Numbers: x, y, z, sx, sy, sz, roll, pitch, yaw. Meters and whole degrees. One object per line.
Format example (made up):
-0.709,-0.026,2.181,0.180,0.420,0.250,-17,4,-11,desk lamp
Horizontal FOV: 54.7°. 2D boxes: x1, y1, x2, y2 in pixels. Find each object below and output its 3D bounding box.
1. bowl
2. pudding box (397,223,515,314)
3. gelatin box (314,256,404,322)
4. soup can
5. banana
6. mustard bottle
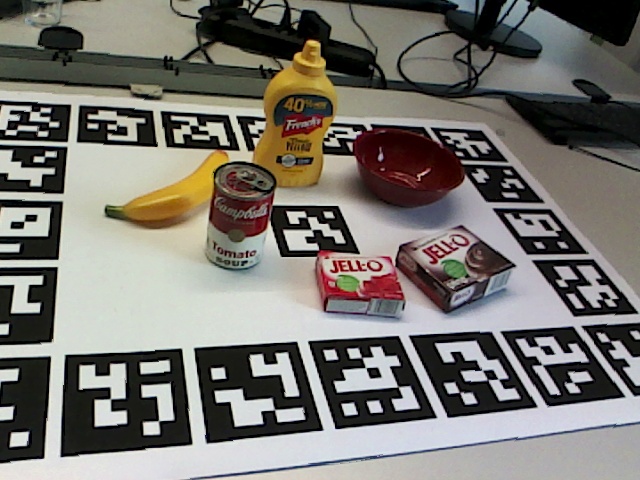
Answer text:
0.124,-0.093,0.887,0.161,0.055,0.162,8,37,-7,bowl
0.164,0.032,0.749,0.113,0.038,0.090,-19,54,-36,pudding box
0.041,0.053,0.688,0.089,0.030,0.073,4,42,-13,gelatin box
-0.095,-0.033,0.678,0.068,0.102,0.068,11,35,-8,soup can
-0.171,-0.074,0.772,0.074,0.039,0.197,18,36,21,banana
-0.024,-0.167,0.796,0.096,0.191,0.059,0,37,-19,mustard bottle
